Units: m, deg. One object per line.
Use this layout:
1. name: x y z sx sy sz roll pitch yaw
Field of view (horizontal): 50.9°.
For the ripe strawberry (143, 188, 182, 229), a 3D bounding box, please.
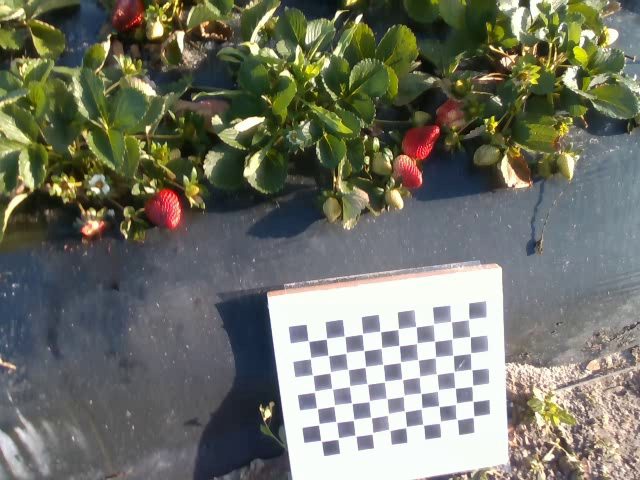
1. ripe strawberry: -0.184 -0.032 0.784 0.052 0.052 0.041 53 -1 42
